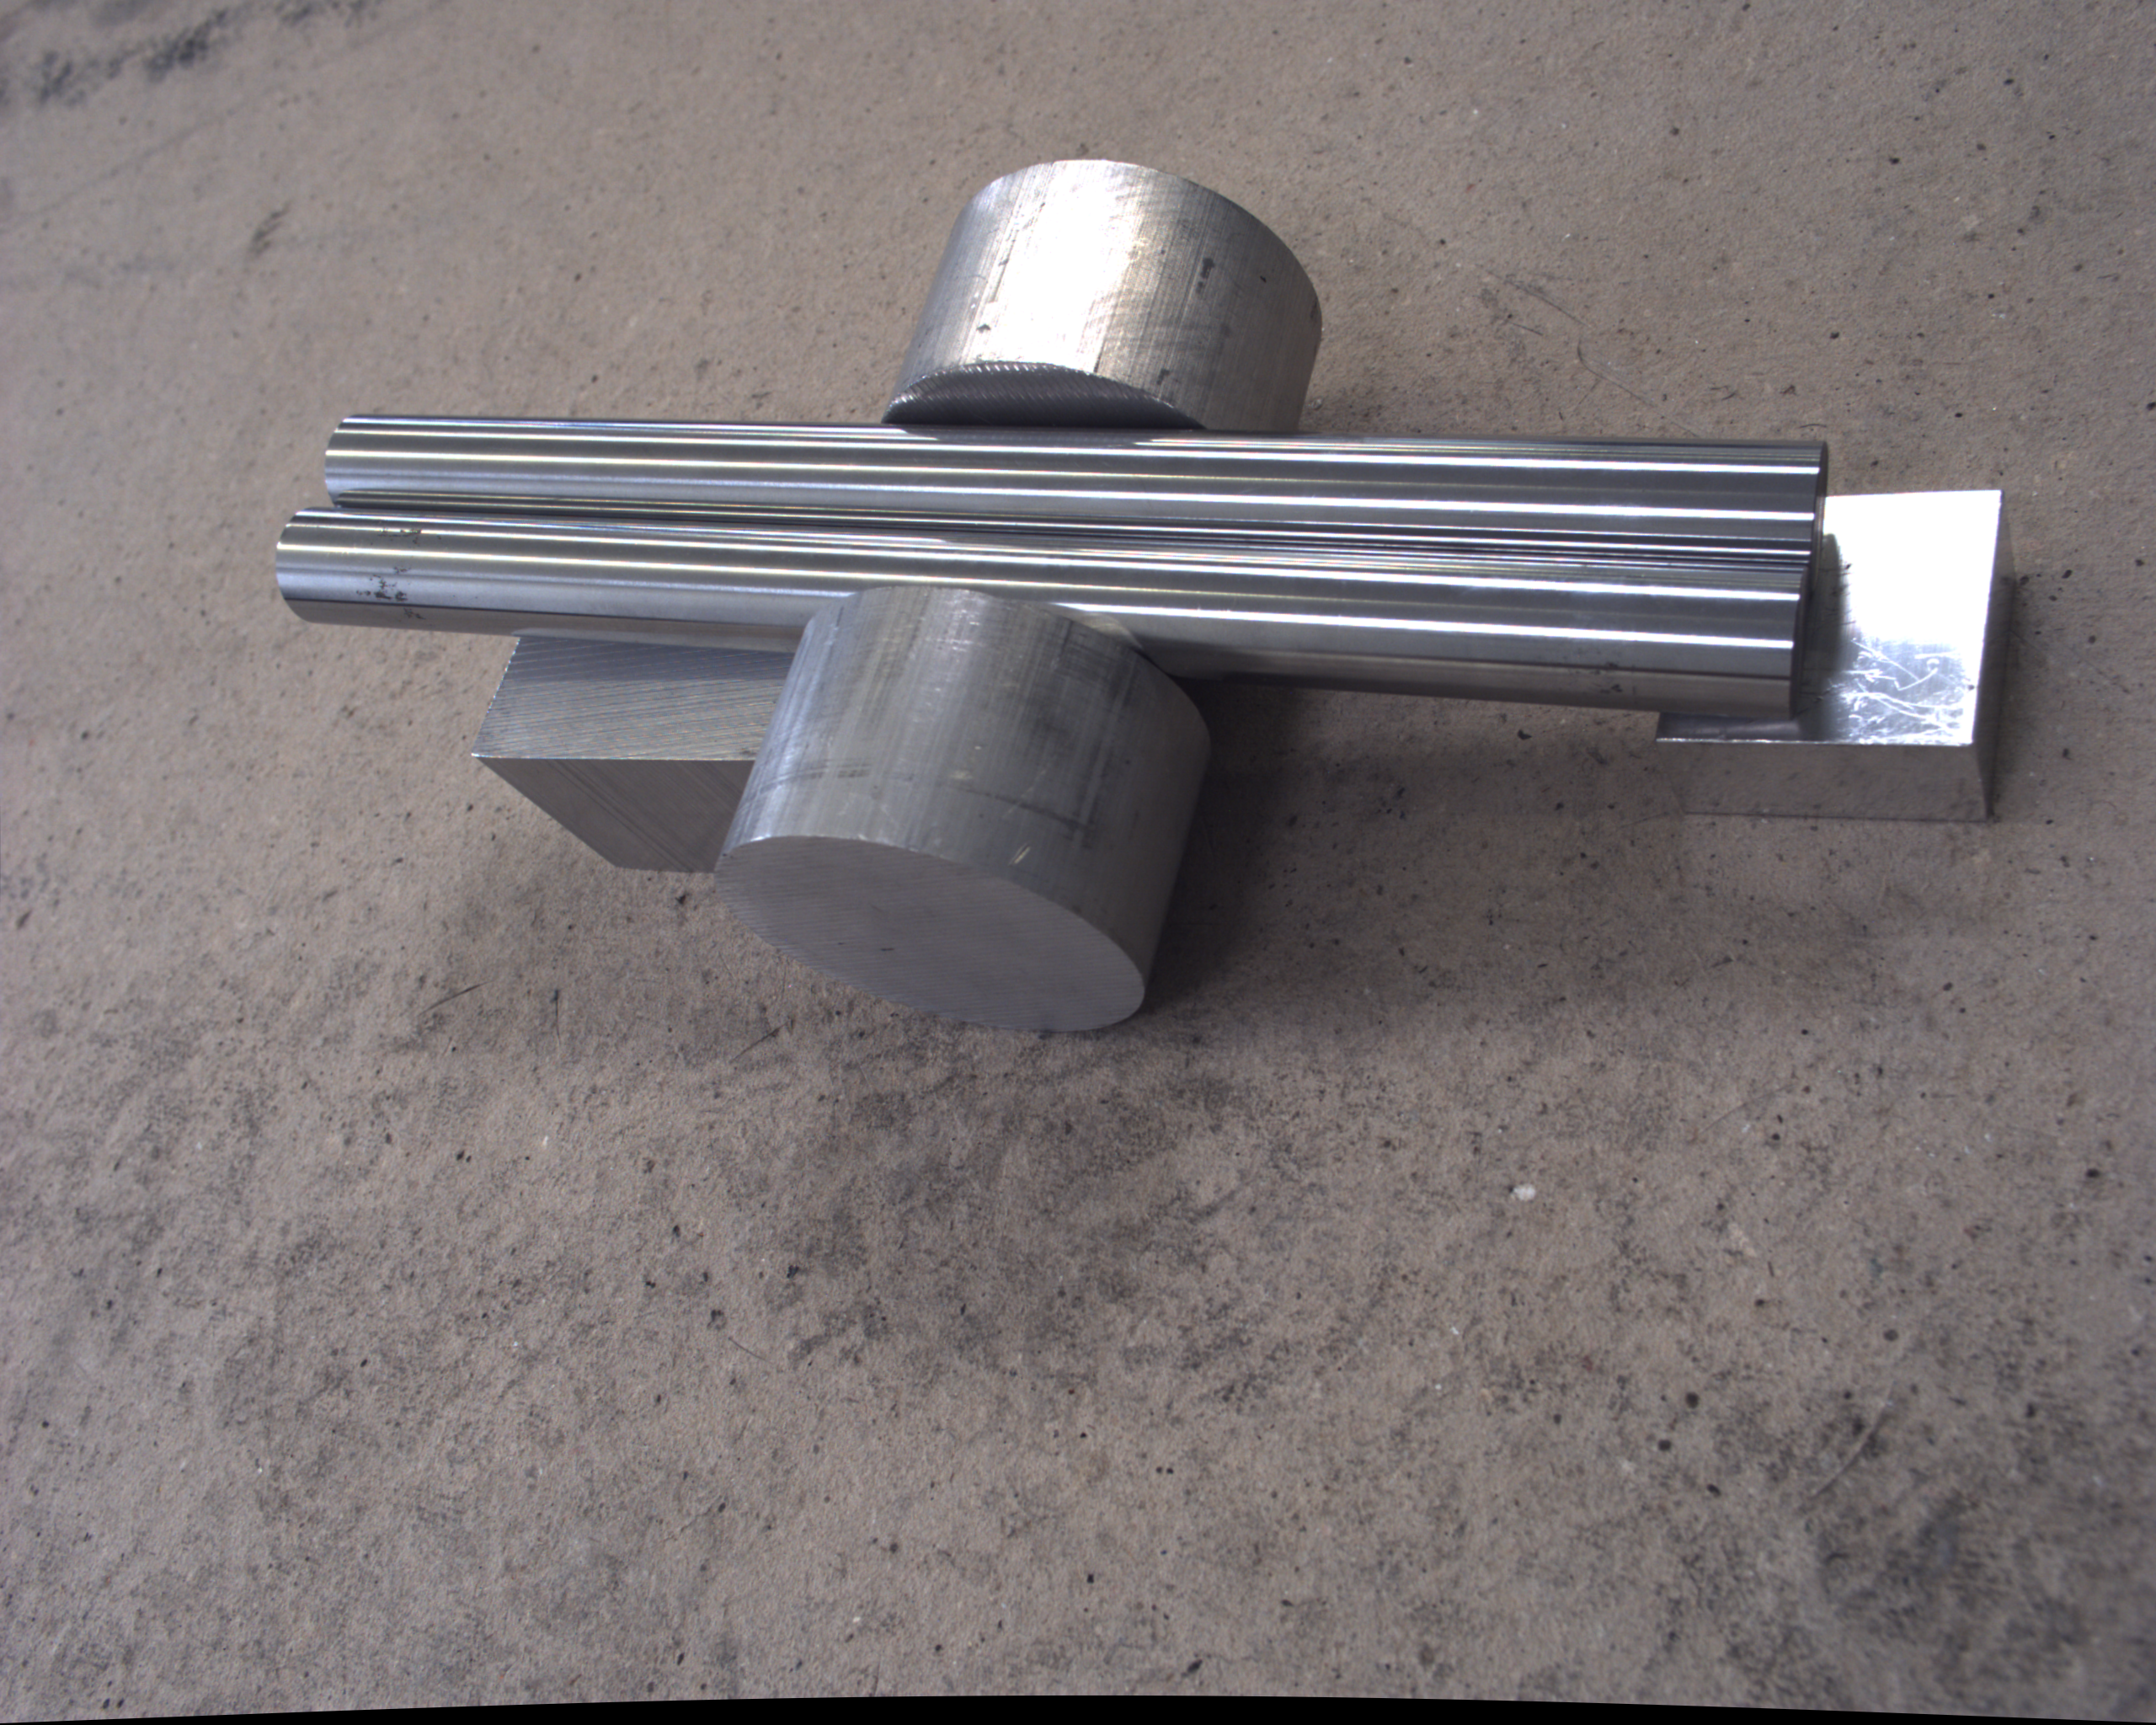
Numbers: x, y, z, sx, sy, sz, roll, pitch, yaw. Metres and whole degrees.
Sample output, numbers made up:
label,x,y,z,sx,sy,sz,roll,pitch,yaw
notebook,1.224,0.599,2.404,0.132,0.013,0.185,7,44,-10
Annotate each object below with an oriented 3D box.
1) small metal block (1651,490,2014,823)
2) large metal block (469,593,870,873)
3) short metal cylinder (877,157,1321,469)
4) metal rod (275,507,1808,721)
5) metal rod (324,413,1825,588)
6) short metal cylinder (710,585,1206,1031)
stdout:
label,x,y,z,sx,sy,sz,roll,pitch,yaw
small metal block,0.131,-0.035,0.359,0.050,0.025,0.050,3,63,30
large metal block,-0.072,-0.044,0.454,0.080,0.050,0.080,2,63,29
short metal cylinder,0.005,-0.096,0.426,0.080,0.080,0.050,2,63,29
metal rod,-0.023,-0.049,0.390,0.301,0.025,0.025,6,64,22
metal rod,-0.017,-0.071,0.400,0.301,0.025,0.025,6,64,22
short metal cylinder,-0.021,-0.008,0.386,0.080,0.080,0.050,2,63,29
